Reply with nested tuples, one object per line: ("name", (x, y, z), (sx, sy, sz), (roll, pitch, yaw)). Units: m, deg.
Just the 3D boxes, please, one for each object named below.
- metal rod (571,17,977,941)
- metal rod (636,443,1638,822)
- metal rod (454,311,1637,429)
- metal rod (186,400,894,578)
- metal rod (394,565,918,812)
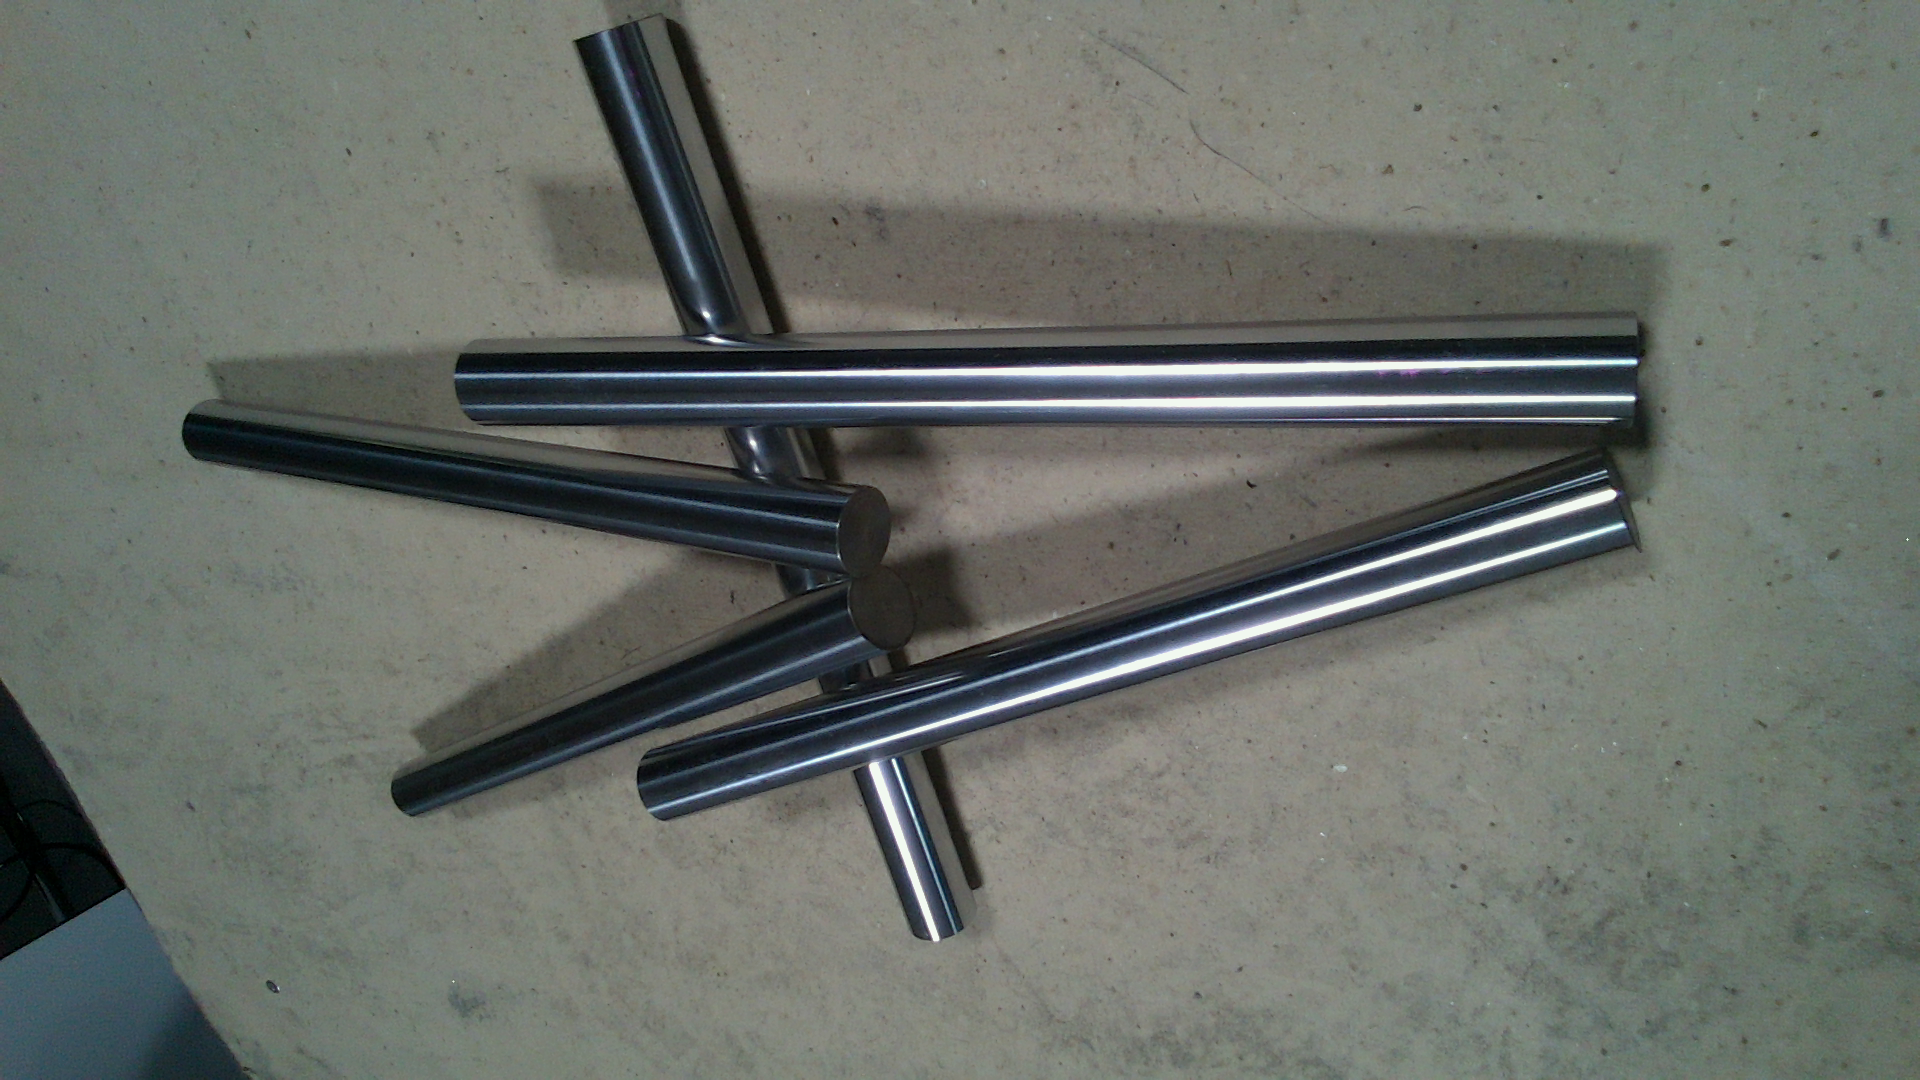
("metal rod", (-0.048, -0.001, 0.418), (0.025, 0.025, 0.300), (-3, 117, 30))
("metal rod", (0.025, 0.036, 0.381), (0.299, 0.025, 0.025), (-20, 108, 29))
("metal rod", (0.003, -0.040, 0.345), (0.299, 0.025, 0.025), (2, 120, 20))
("metal rod", (-0.152, -0.021, 0.443), (0.299, 0.025, 0.025), (9, 122, 30))
("metal rod", (-0.123, 0.060, 0.479), (0.299, 0.025, 0.025), (-23, 106, 42))
